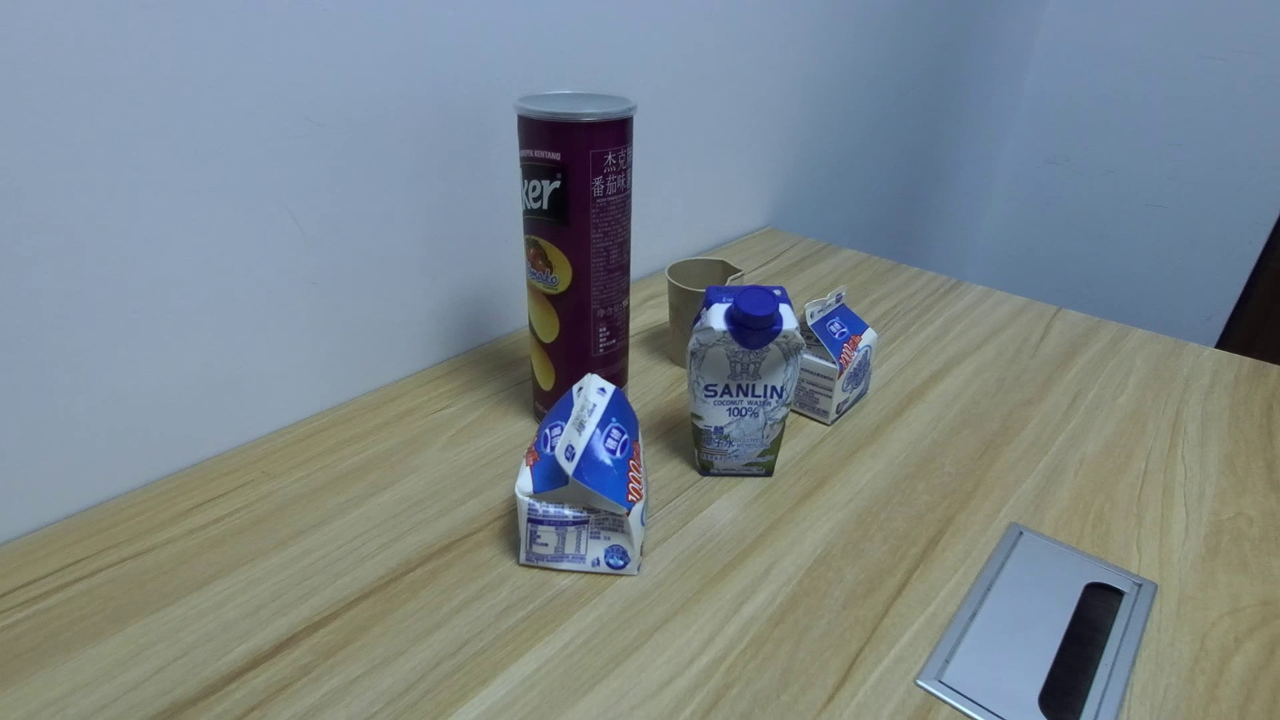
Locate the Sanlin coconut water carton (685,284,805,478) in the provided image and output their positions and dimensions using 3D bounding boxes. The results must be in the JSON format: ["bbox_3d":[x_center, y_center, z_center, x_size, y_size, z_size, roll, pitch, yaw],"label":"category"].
[{"bbox_3d":[0.068,0.011,0.475,0.078,0.142,0.057,0,34,-2],"label":"Sanlin coconut water carton"}]

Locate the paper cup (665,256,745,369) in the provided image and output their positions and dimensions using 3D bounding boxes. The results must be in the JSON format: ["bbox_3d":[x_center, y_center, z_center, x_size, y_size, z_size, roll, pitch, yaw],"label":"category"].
[{"bbox_3d":[0.055,-0.038,0.620,0.069,0.081,0.073,-14,32,-23],"label":"paper cup"}]

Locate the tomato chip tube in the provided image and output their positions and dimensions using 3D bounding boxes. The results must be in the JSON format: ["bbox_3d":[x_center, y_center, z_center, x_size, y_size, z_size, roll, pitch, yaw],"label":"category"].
[{"bbox_3d":[-0.043,-0.062,0.506,0.078,0.234,0.078,1,29,0],"label":"tomato chip tube"}]

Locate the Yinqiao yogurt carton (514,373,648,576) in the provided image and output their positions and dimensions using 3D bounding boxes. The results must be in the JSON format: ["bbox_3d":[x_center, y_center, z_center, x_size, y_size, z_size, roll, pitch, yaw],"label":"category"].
[{"bbox_3d":[-0.032,0.064,0.425,0.077,0.093,0.083,4,30,4],"label":"Yinqiao yogurt carton"}]

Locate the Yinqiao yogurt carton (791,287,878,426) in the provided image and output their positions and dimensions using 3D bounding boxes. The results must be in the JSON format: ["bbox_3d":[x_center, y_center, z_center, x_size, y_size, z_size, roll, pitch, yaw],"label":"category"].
[{"bbox_3d":[0.145,-0.011,0.571,0.073,0.092,0.076,21,33,34],"label":"Yinqiao yogurt carton"}]
